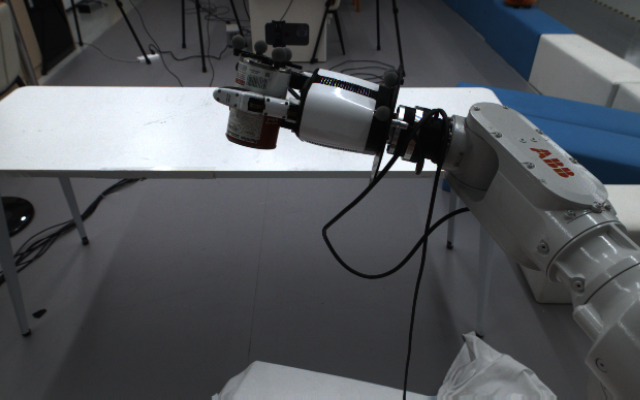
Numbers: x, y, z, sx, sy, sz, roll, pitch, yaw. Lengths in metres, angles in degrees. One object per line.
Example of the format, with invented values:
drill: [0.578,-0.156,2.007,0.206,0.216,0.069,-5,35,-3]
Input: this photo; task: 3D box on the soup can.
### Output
soup can: [-0.078,-0.122,0.615,0.067,0.101,0.067,13,18,-4]
